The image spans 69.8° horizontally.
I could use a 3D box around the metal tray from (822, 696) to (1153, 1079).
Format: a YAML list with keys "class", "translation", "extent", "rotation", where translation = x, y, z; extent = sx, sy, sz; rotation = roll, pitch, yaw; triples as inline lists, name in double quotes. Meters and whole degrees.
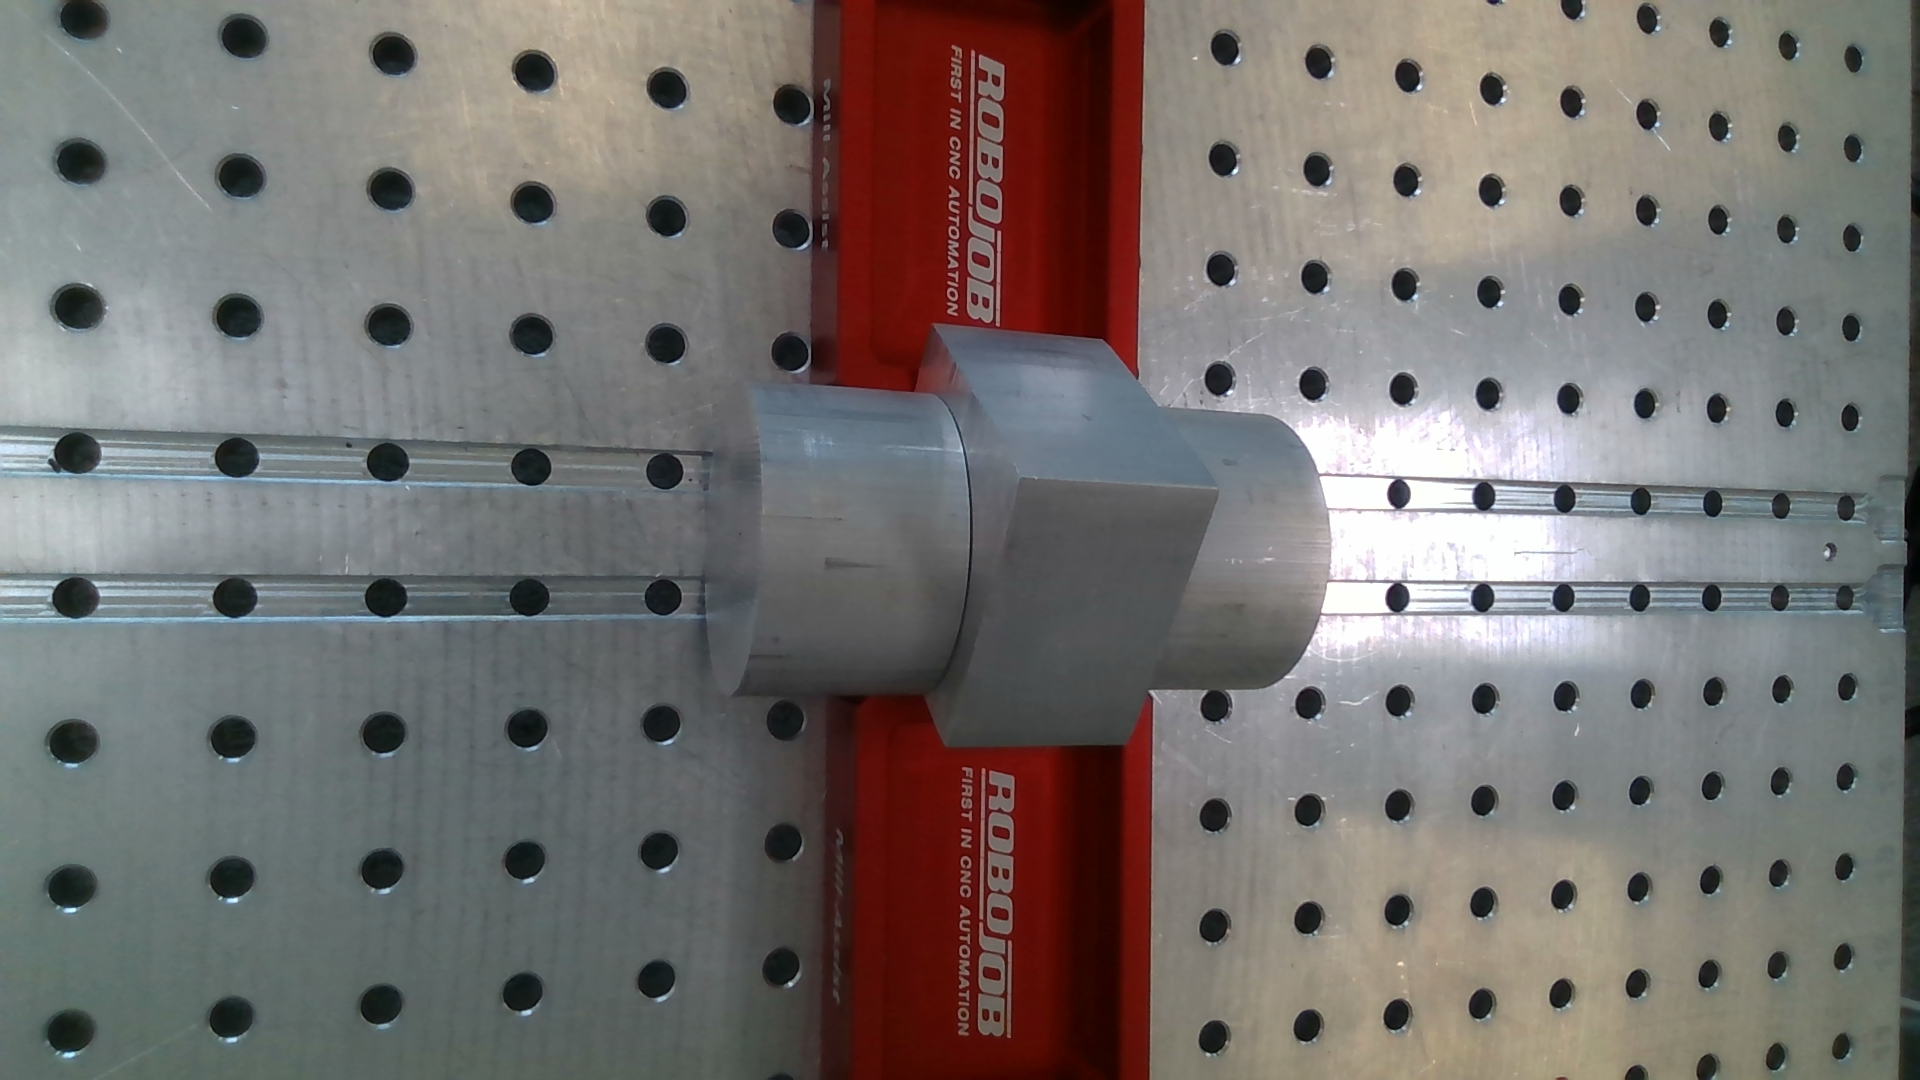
- class: "metal tray"
  translation: [0.008, 0.105, 0.397]
  extent: [0.090, 0.030, 0.130]
  rotation: [1, 90, -20]

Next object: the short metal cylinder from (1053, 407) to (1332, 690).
- class: "short metal cylinder"
  translation: [0.060, 0.002, 0.389]
  extent: [0.050, 0.080, 0.080]
  rotation: [1, 90, -20]

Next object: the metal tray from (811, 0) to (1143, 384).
- class: "metal tray"
  translation: [0.005, -0.102, 0.395]
  extent: [0.090, 0.030, 0.130]
  rotation: [1, 90, -20]

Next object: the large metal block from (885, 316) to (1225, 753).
- class: "large metal block"
  translation: [0.017, -0.002, 0.358]
  extent: [0.050, 0.080, 0.080]
  rotation: [2, 123, -21]

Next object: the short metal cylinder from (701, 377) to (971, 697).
- class: "short metal cylinder"
  translation: [-0.035, 0.000, 0.354]
  extent: [0.050, 0.080, 0.080]
  rotation: [2, 89, -20]
